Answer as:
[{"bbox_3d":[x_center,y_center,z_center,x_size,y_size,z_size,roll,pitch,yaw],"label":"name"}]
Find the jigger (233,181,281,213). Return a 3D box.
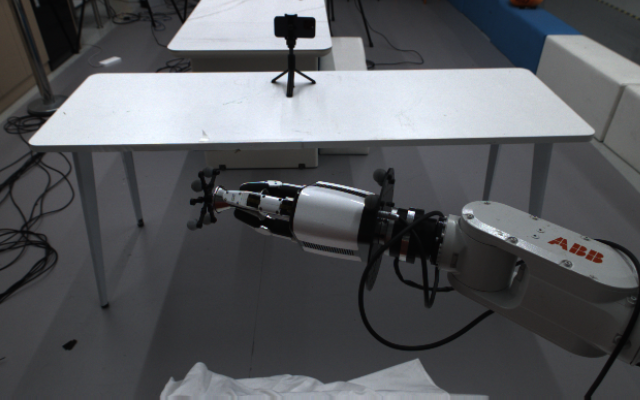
[{"bbox_3d":[-0.102,0.000,0.663,0.071,0.043,0.043,6,35,14],"label":"jigger"}]
